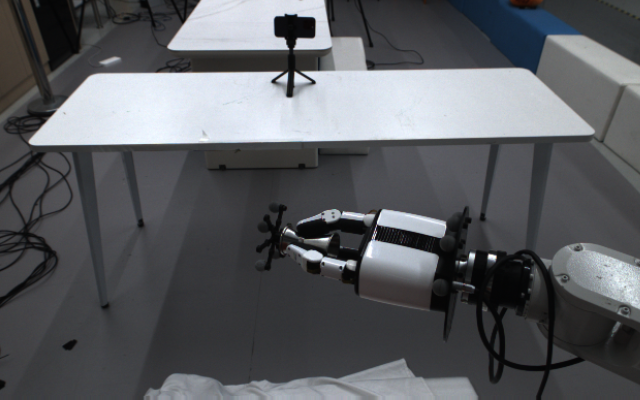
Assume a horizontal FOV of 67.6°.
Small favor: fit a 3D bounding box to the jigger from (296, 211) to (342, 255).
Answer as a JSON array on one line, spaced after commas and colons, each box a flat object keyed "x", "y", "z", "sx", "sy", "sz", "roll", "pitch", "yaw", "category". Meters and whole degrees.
[{"x": -0.007, "y": 0.055, "z": 0.625, "sx": 0.071, "sy": 0.043, "sz": 0.043, "roll": 10, "pitch": 35, "yaw": 22, "category": "jigger"}]
